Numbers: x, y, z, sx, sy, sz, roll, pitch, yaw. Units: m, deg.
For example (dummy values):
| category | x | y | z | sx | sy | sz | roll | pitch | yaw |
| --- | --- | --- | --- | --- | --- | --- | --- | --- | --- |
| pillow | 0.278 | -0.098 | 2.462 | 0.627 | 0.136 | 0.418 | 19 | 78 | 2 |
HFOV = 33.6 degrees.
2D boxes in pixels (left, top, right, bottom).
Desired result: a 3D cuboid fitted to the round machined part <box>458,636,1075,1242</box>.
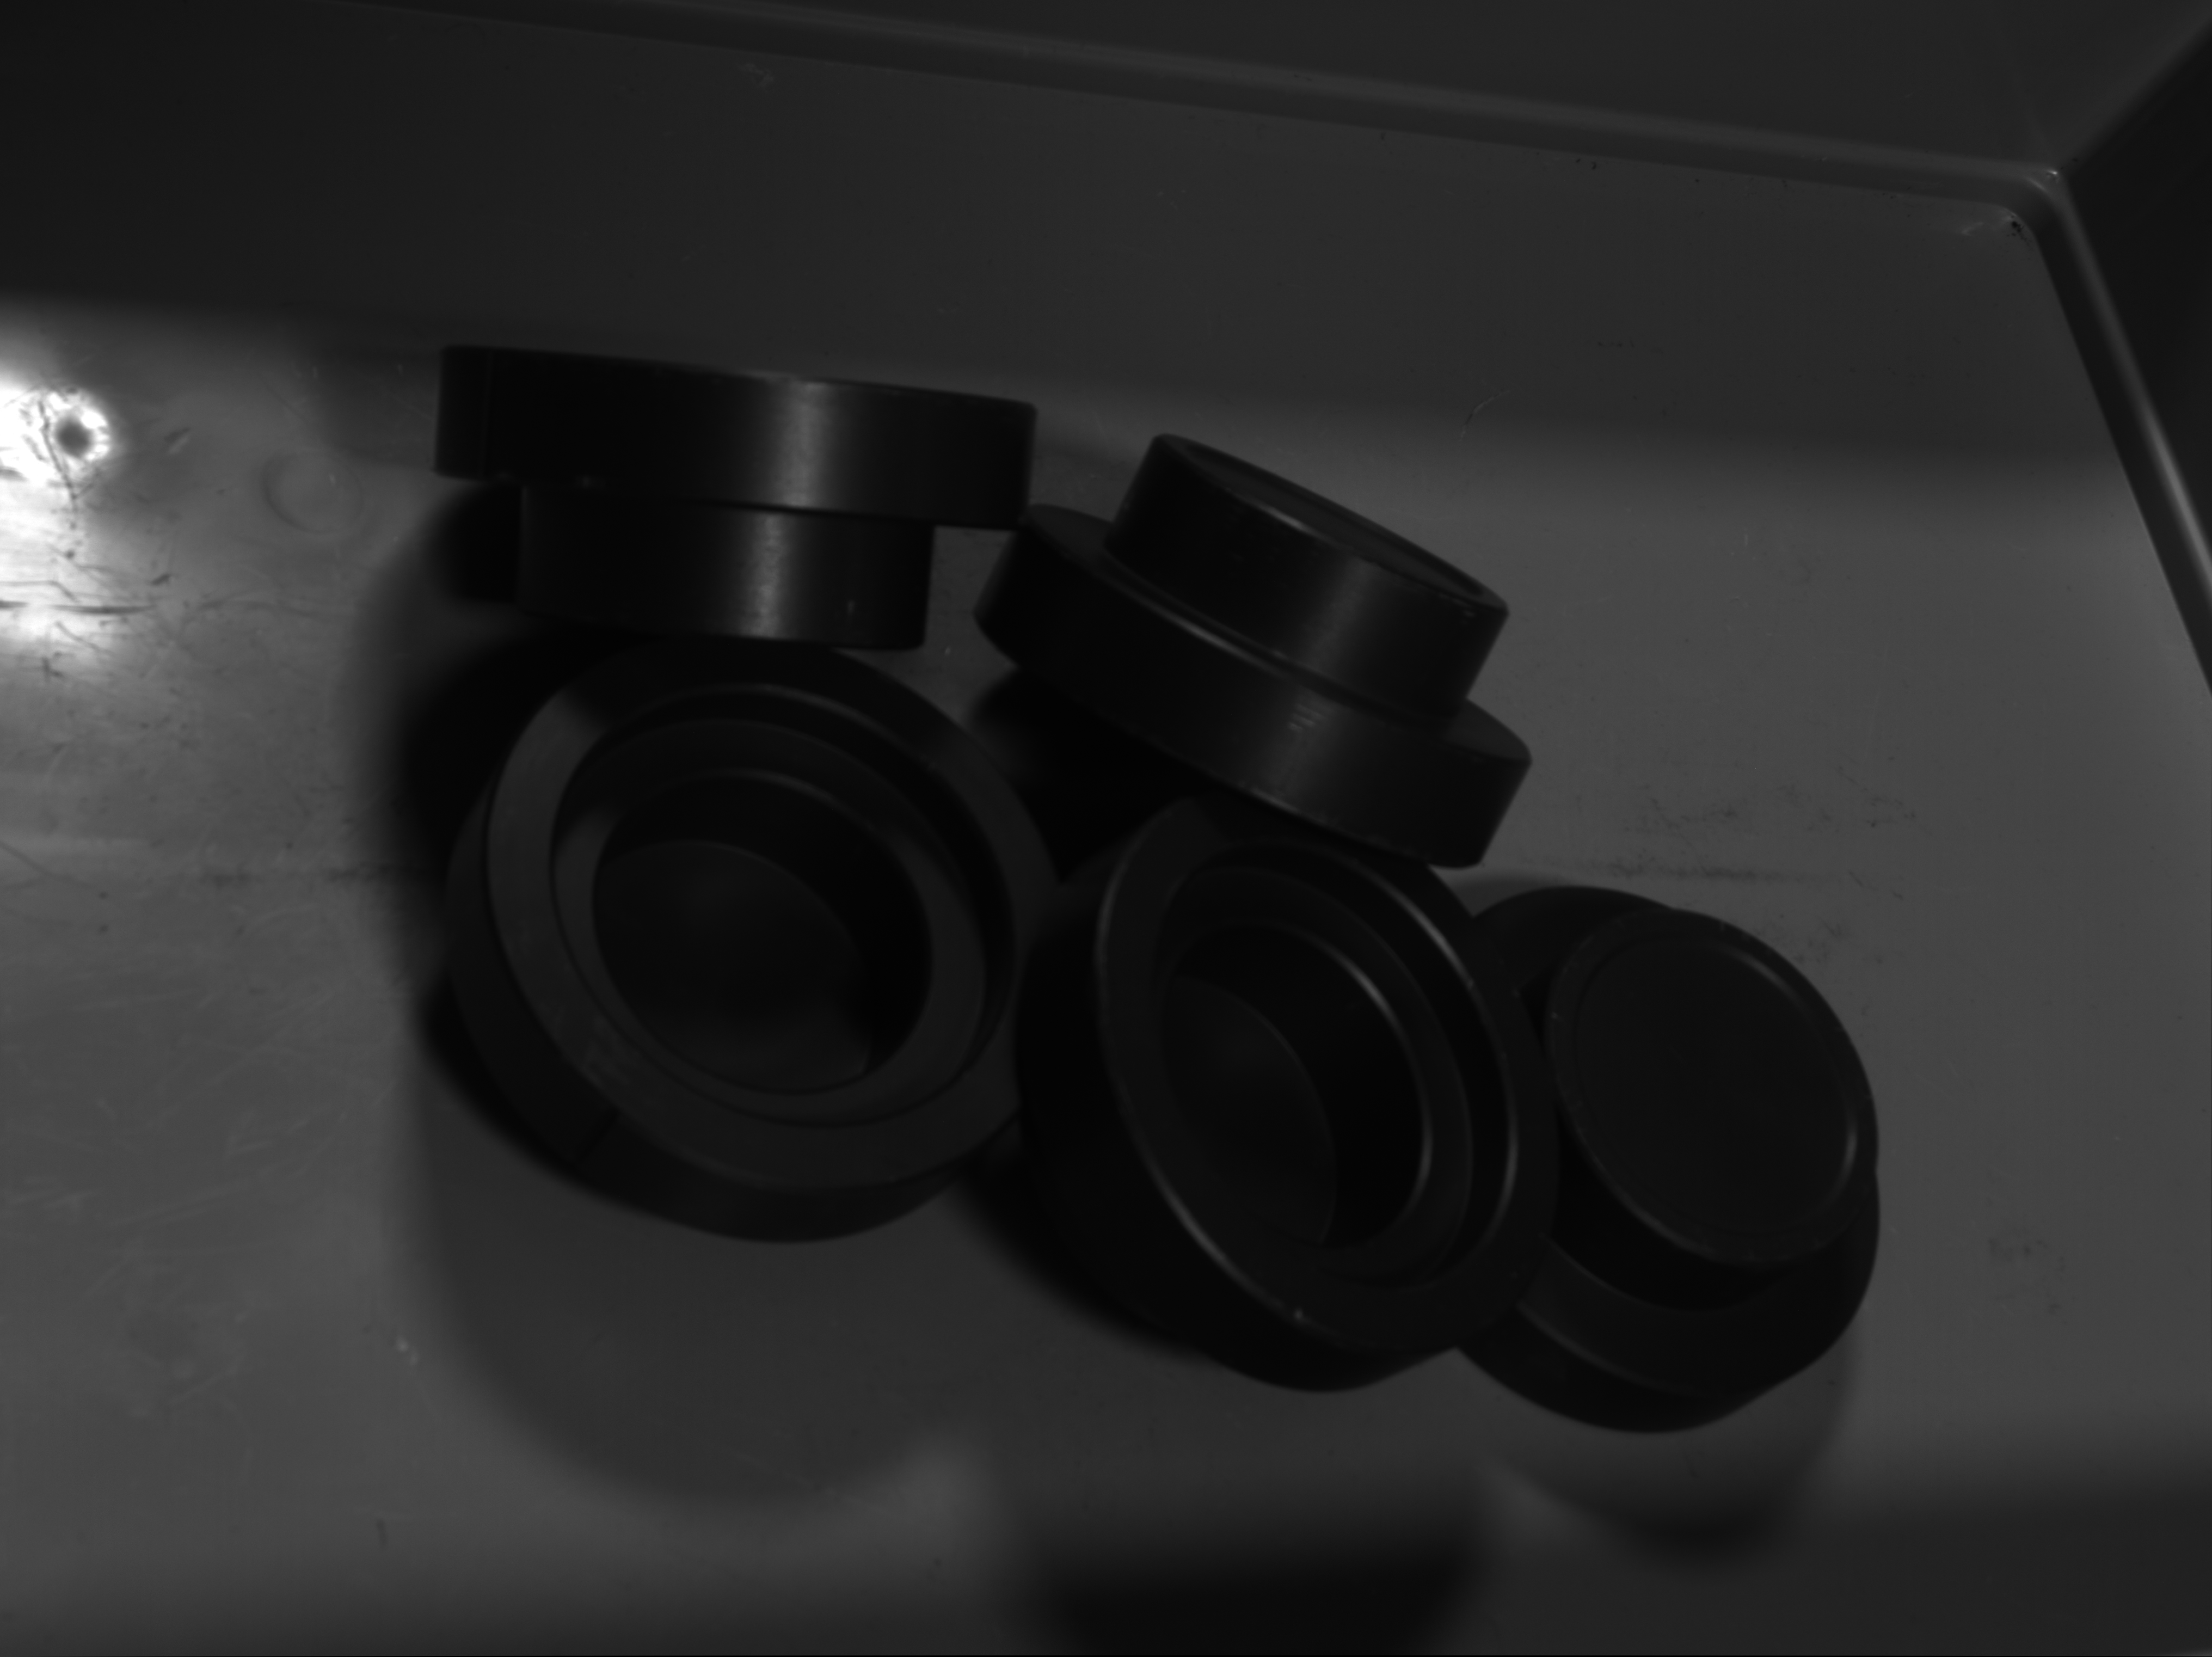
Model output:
| category | x | y | z | sx | sy | sz | roll | pitch | yaw |
| --- | --- | --- | --- | --- | --- | --- | --- | --- | --- |
| round machined part | -0.056 | 0.021 | 0.584 | 0.098 | 0.042 | 0.098 | 14 | 56 | -21 |

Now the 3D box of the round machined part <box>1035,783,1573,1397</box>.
| category | x | y | z | sx | sy | sz | roll | pitch | yaw |
| --- | --- | --- | --- | --- | --- | --- | --- | --- | --- |
| round machined part | 0.027 | 0.045 | 0.599 | 0.098 | 0.042 | 0.098 | 21 | 56 | -33 |

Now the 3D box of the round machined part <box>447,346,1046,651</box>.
| category | x | y | z | sx | sy | sz | roll | pitch | yaw |
| --- | --- | --- | --- | --- | --- | --- | --- | --- | --- |
| round machined part | -0.060 | -0.054 | 0.605 | 0.098 | 0.098 | 0.042 | 3 | 96 | -27 |

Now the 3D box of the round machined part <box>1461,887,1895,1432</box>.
| category | x | y | z | sx | sy | sz | roll | pitch | yaw |
| --- | --- | --- | --- | --- | --- | --- | --- | --- | --- |
| round machined part | 0.099 | 0.053 | 0.647 | 0.098 | 0.042 | 0.098 | 14 | 56 | -21 |

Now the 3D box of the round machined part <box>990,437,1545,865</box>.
| category | x | y | z | sx | sy | sz | roll | pitch | yaw |
| --- | --- | --- | --- | --- | --- | --- | --- | --- | --- |
| round machined part | 0.032 | -0.035 | 0.631 | 0.098 | 0.042 | 0.098 | 25 | 11 | -5 |
